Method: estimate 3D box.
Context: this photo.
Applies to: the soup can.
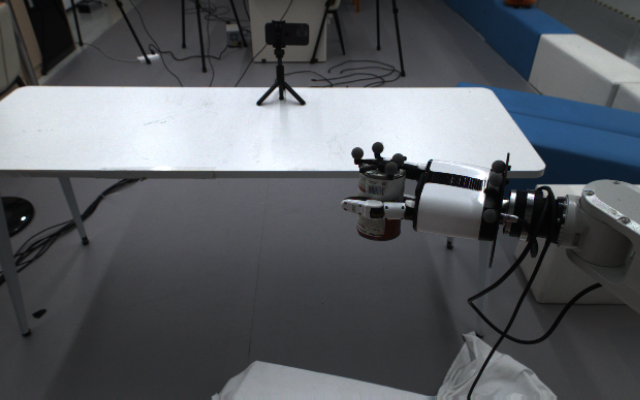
[{"bbox_3d":[0.089,0.000,0.710,0.067,0.101,0.067,1,25,0],"label":"soup can"}]
